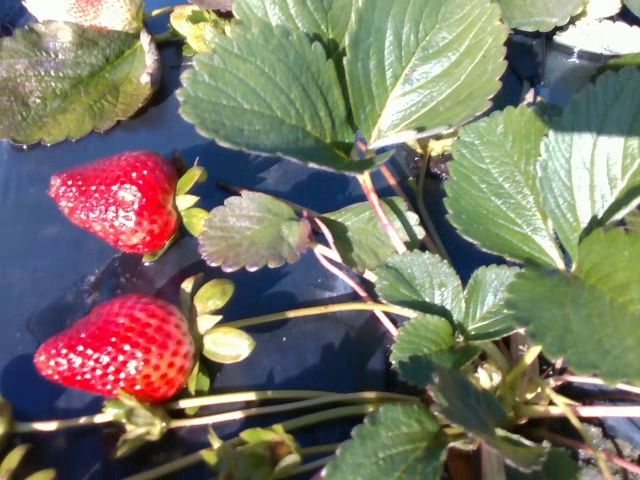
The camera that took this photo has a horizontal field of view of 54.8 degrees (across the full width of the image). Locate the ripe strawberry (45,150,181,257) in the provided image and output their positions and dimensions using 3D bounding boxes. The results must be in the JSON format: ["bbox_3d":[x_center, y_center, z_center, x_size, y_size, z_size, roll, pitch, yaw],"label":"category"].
[{"bbox_3d":[-0.077,-0.018,0.230,0.050,0.051,0.045,18,-34,-19],"label":"ripe strawberry"}]

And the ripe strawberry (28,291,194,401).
[{"bbox_3d":[-0.061,0.033,0.180,0.049,0.039,0.042,1,6,-37],"label":"ripe strawberry"}]
